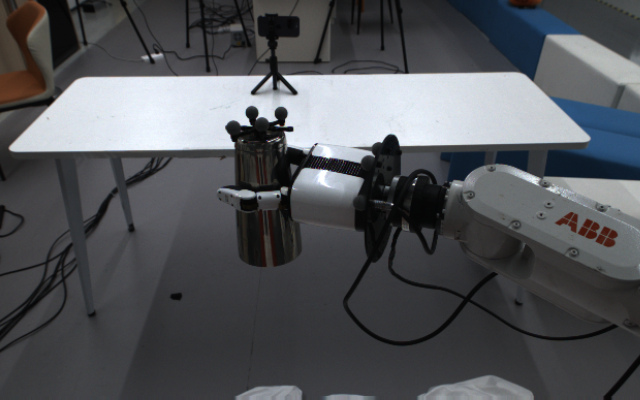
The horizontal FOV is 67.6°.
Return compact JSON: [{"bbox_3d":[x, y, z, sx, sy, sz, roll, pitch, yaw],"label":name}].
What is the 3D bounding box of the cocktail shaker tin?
[{"bbox_3d":[-0.072,-0.007,0.652,0.093,0.170,0.093,-2,26,1],"label":"cocktail shaker tin"}]
